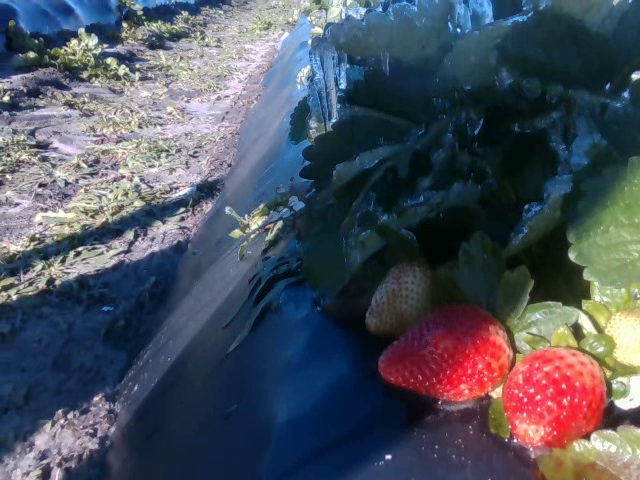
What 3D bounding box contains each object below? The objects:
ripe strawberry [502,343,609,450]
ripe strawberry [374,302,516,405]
[{"bbox_3d":[0.073,0.051,0.188,0.036,0.030,0.041,-20,22,39],"label":"ripe strawberry"},{"bbox_3d":[0.040,0.043,0.209,0.051,0.040,0.036,-6,4,-31],"label":"ripe strawberry"}]
